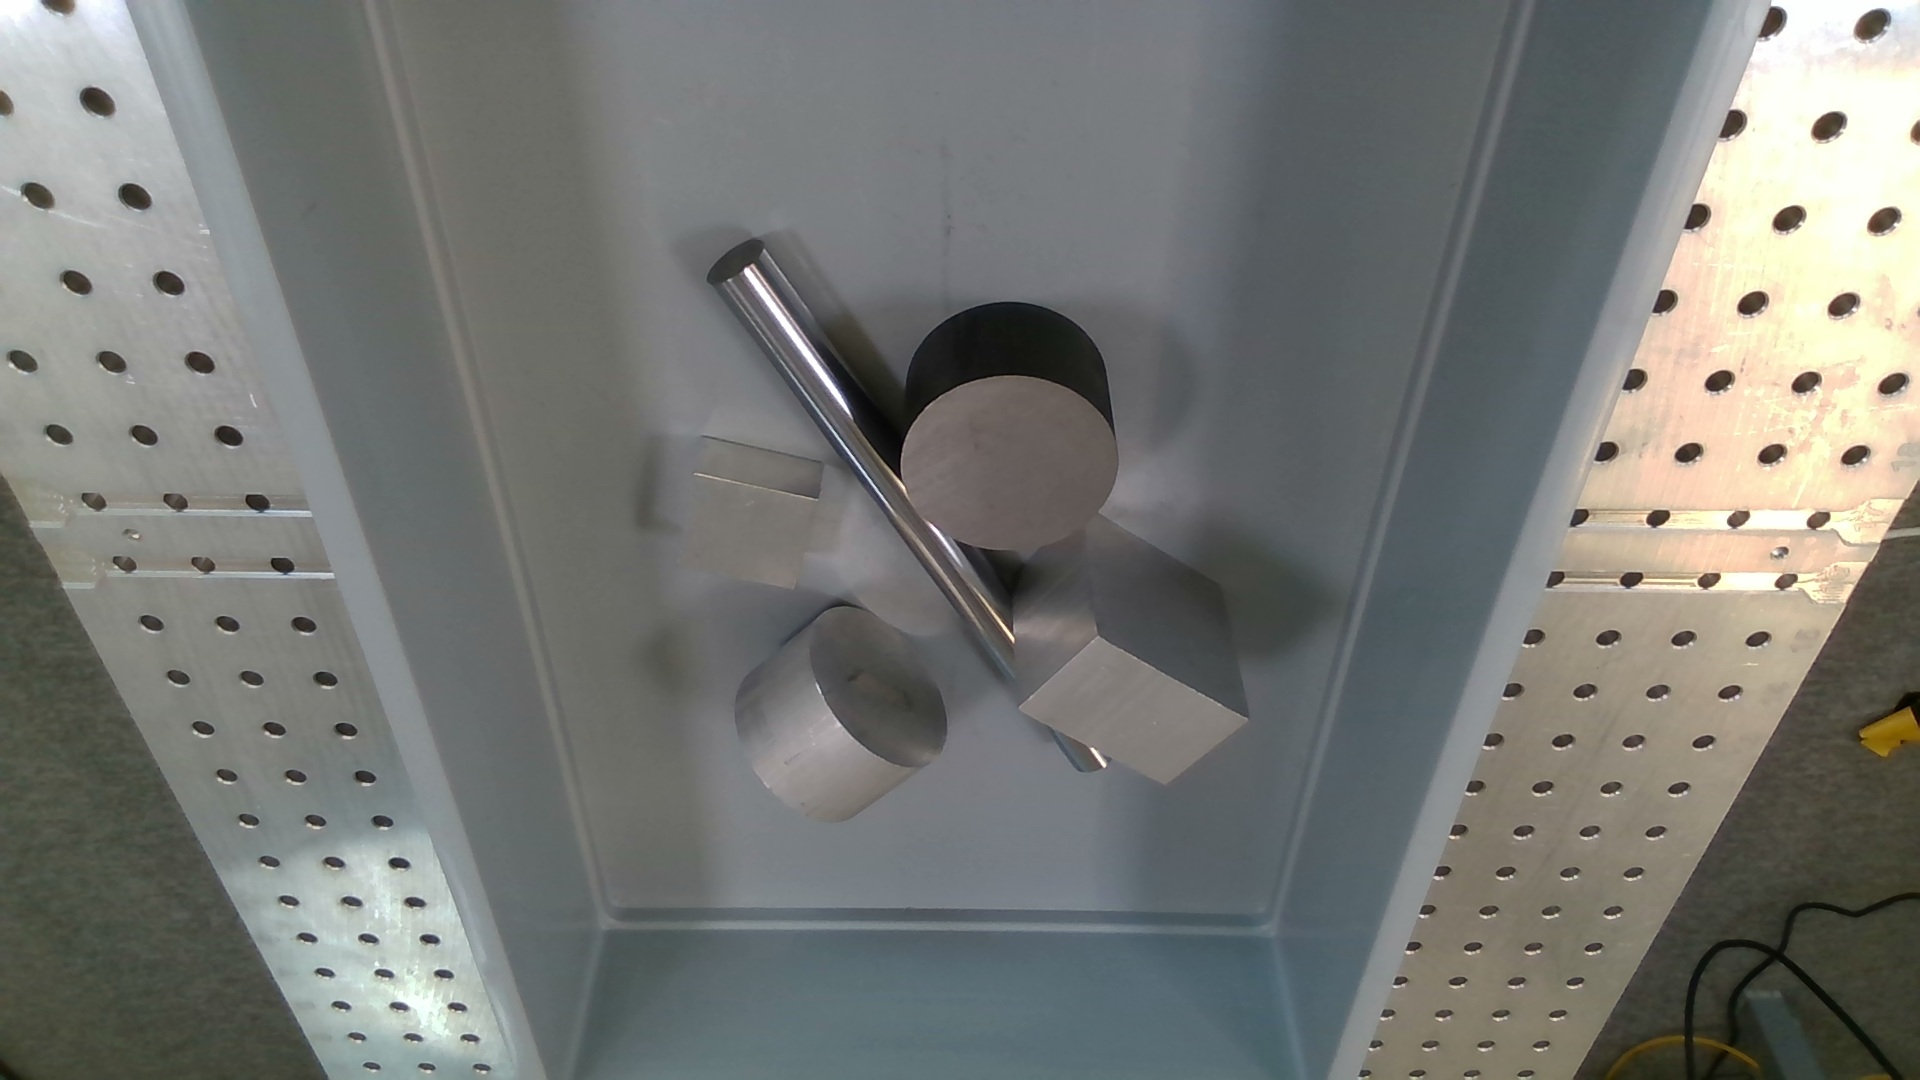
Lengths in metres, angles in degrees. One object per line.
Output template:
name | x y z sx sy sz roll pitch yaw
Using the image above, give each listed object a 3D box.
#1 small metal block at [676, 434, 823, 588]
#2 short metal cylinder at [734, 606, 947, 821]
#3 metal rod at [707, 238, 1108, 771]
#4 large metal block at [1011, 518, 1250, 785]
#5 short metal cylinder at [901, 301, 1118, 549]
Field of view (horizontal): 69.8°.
small metal block | -0.087 -0.011 0.569 0.050 0.025 0.050 12 129 -10
short metal cylinder | -0.052 0.076 0.607 0.080 0.080 0.050 36 122 -26
metal rod | -0.008 0.000 0.579 0.025 0.025 0.301 -23 126 18
large metal block | 0.069 0.043 0.580 0.080 0.080 0.050 29 124 -22
short metal cylinder | 0.018 -0.043 0.525 0.080 0.050 0.080 0 130 0
